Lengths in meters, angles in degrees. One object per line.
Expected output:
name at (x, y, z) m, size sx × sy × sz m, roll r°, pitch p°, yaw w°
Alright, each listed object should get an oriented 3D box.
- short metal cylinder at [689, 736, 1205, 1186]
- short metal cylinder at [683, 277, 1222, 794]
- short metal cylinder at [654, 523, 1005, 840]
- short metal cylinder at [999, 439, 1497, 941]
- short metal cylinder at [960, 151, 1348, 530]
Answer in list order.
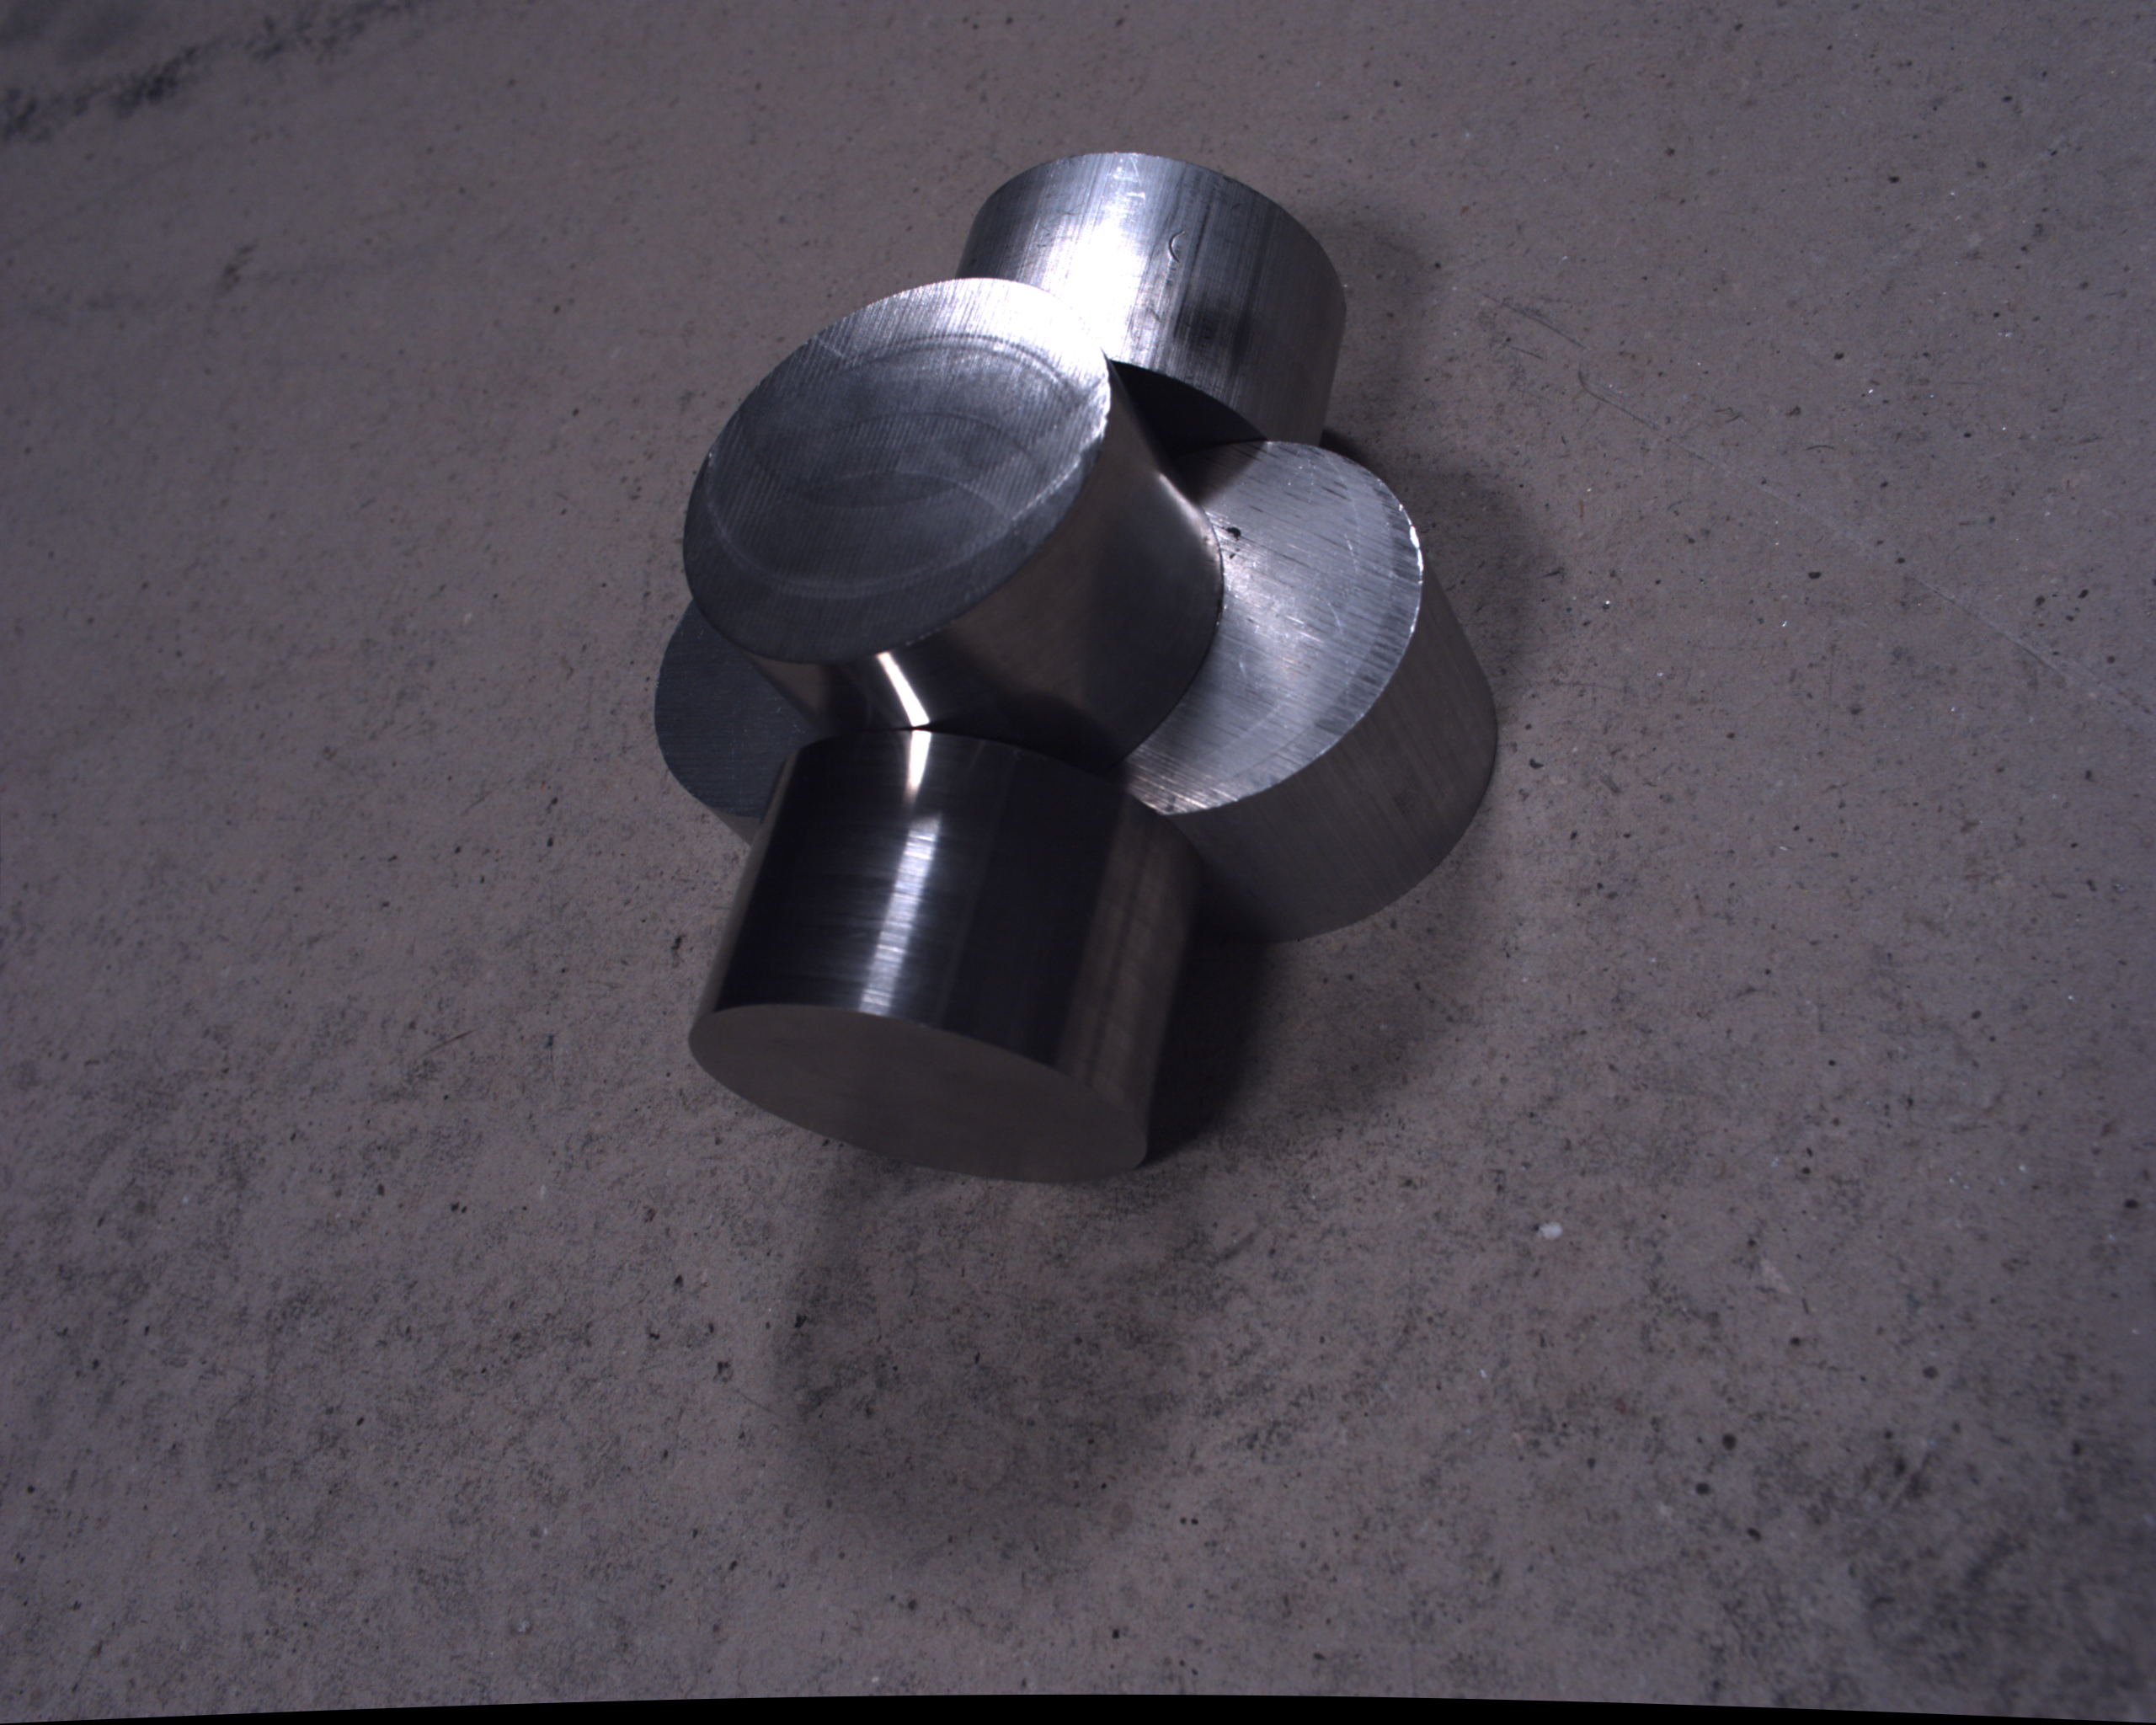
short metal cylinder at (-0.022, 0.020, 0.369) m, size 0.080 × 0.080 × 0.050 m, roll 0°, pitch 62°, yaw 28°
short metal cylinder at (-0.021, -0.055, 0.368) m, size 0.080 × 0.050 × 0.080 m, roll -13°, pitch 56°, yaw 20°
short metal cylinder at (-0.038, -0.032, 0.427) m, size 0.080 × 0.050 × 0.080 m, roll -13°, pitch 56°, yaw 20°
short metal cylinder at (0.032, -0.032, 0.391) m, size 0.080 × 0.050 × 0.080 m, roll -13°, pitch 56°, yaw 20°
short metal cylinder at (0.011, -0.096, 0.423) m, size 0.080 × 0.080 × 0.050 m, roll 0°, pitch 62°, yaw 28°
